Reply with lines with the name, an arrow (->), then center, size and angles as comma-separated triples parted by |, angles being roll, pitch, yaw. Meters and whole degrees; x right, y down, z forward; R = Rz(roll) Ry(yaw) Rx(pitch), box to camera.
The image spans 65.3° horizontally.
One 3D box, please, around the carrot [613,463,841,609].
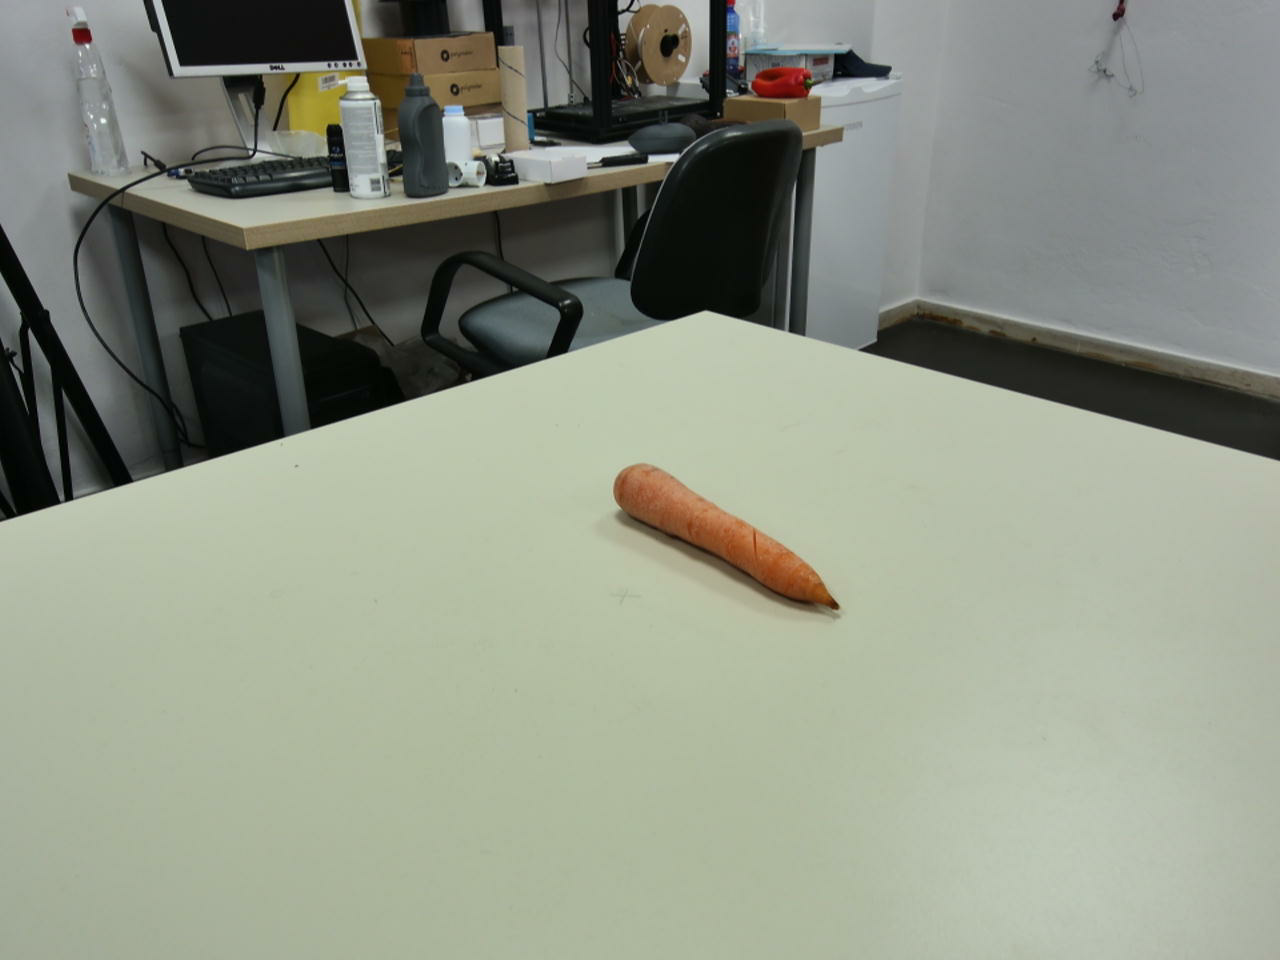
carrot -> 0.054, 0.032, 0.651 | 0.039, 0.041, 0.196 | -20, 32, -38
